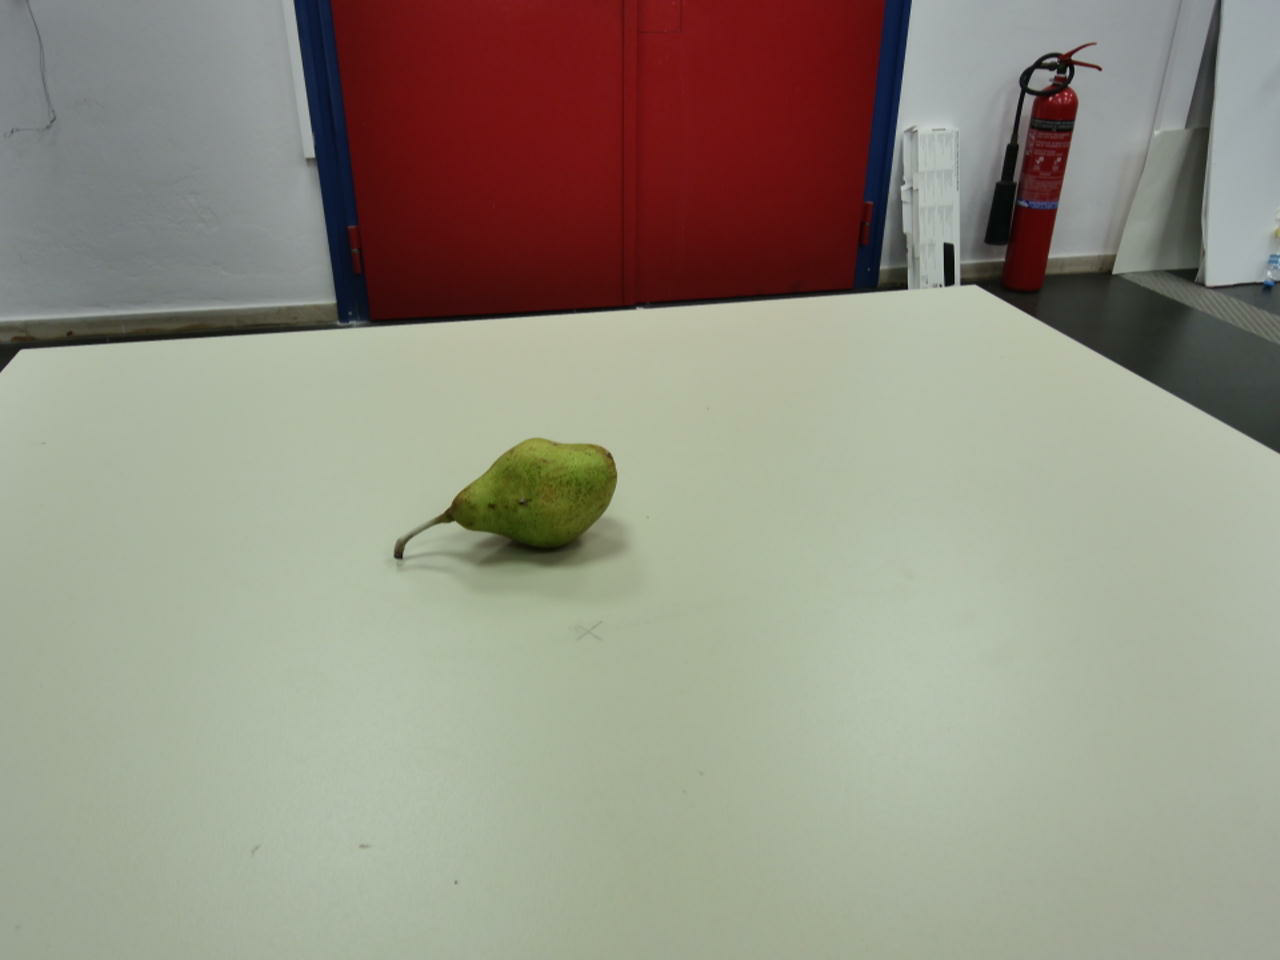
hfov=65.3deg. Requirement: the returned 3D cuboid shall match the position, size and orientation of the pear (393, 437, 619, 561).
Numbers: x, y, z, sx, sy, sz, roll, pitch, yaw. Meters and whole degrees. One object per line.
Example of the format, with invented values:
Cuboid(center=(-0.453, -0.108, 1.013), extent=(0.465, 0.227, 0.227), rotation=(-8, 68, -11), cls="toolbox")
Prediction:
Cuboid(center=(-0.067, 0.006, 0.507), extent=(0.111, 0.056, 0.056), rotation=(1, 26, 2), cls="pear")
